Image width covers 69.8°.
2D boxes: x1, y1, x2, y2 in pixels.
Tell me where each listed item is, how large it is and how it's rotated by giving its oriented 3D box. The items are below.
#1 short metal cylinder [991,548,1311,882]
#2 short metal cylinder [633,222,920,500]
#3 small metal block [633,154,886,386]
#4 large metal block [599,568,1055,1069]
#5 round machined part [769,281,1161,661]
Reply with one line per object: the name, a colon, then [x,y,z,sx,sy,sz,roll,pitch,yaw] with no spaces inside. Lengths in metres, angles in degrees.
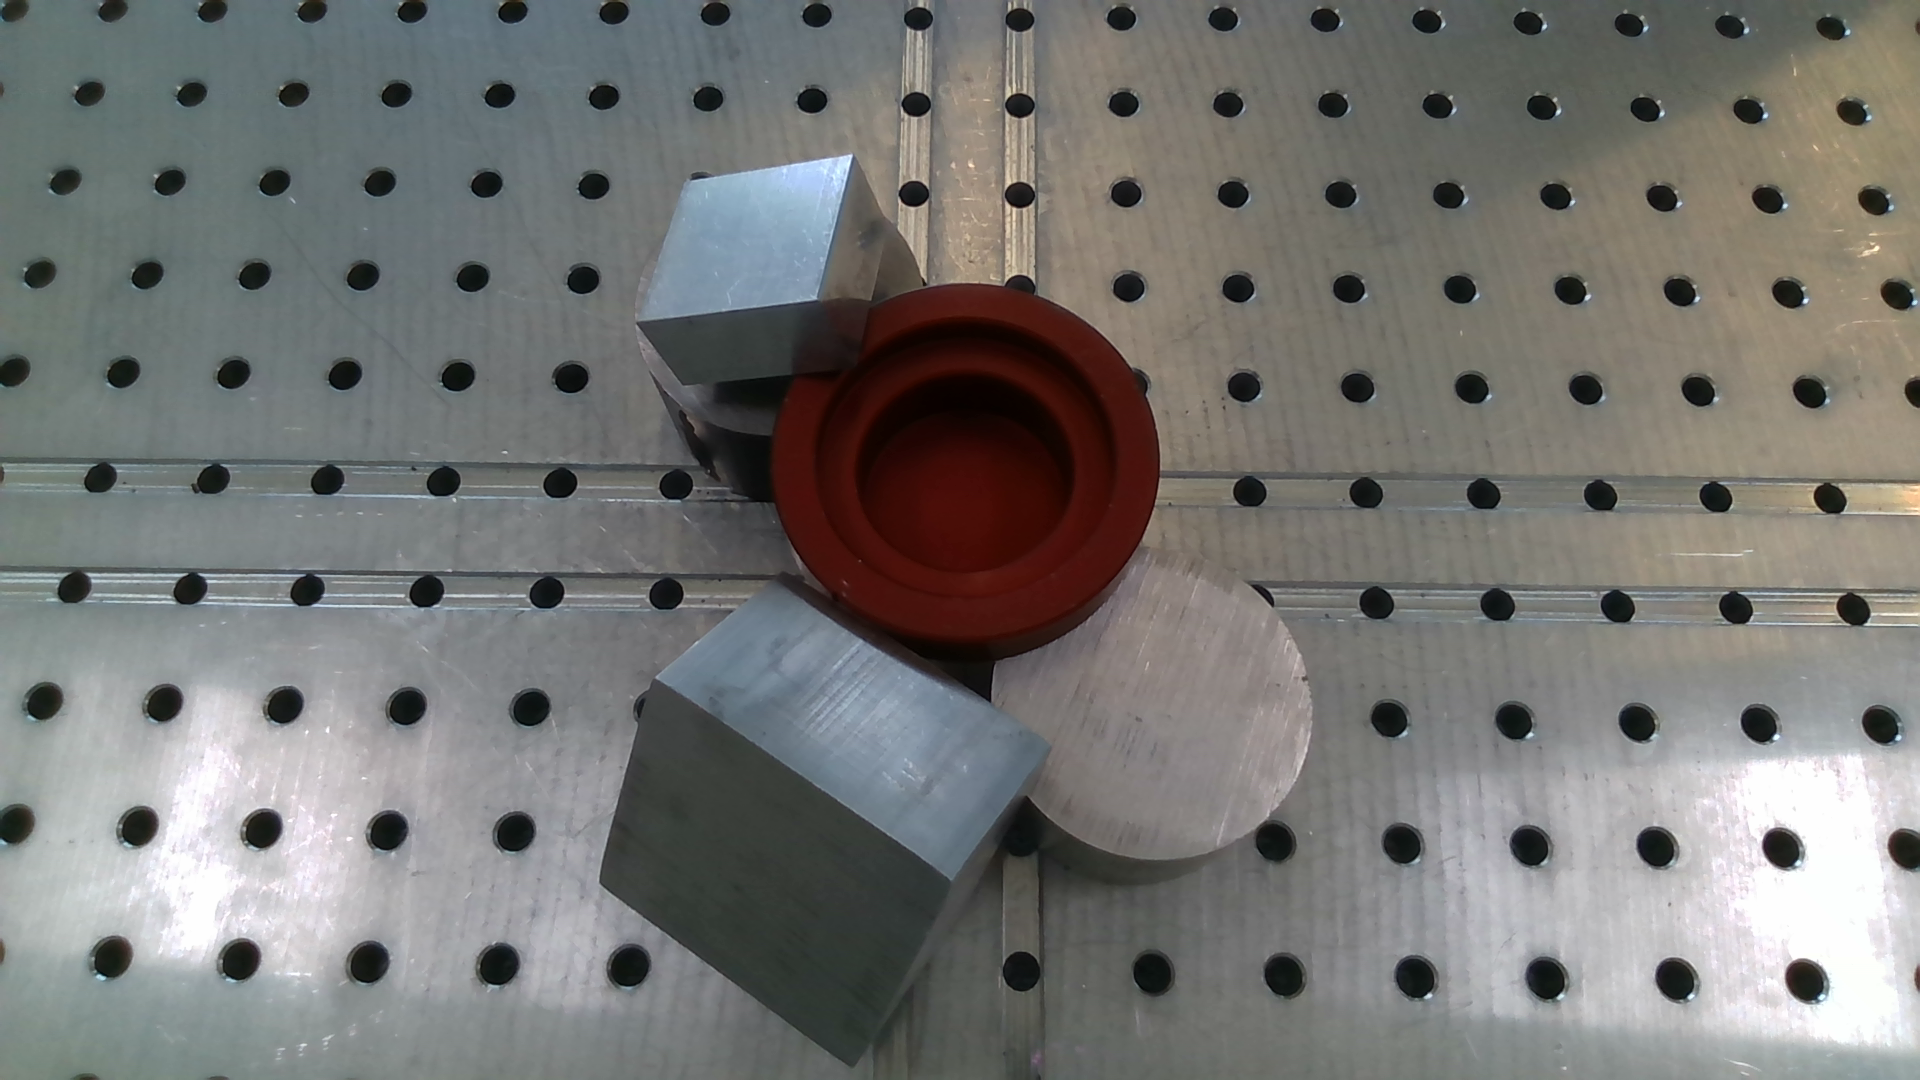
short metal cylinder: [0.048,0.048,0.368,0.080,0.050,0.080,0,70,0]
short metal cylinder: [-0.051,-0.057,0.405,0.080,0.050,0.080,0,70,0]
small metal block: [-0.050,-0.069,0.356,0.050,0.025,0.050,-3,57,19]
large metal block: [-0.035,0.068,0.338,0.080,0.080,0.050,32,39,11]
round machined part: [0.001,-0.015,0.363,0.098,0.042,0.098,0,70,0]
